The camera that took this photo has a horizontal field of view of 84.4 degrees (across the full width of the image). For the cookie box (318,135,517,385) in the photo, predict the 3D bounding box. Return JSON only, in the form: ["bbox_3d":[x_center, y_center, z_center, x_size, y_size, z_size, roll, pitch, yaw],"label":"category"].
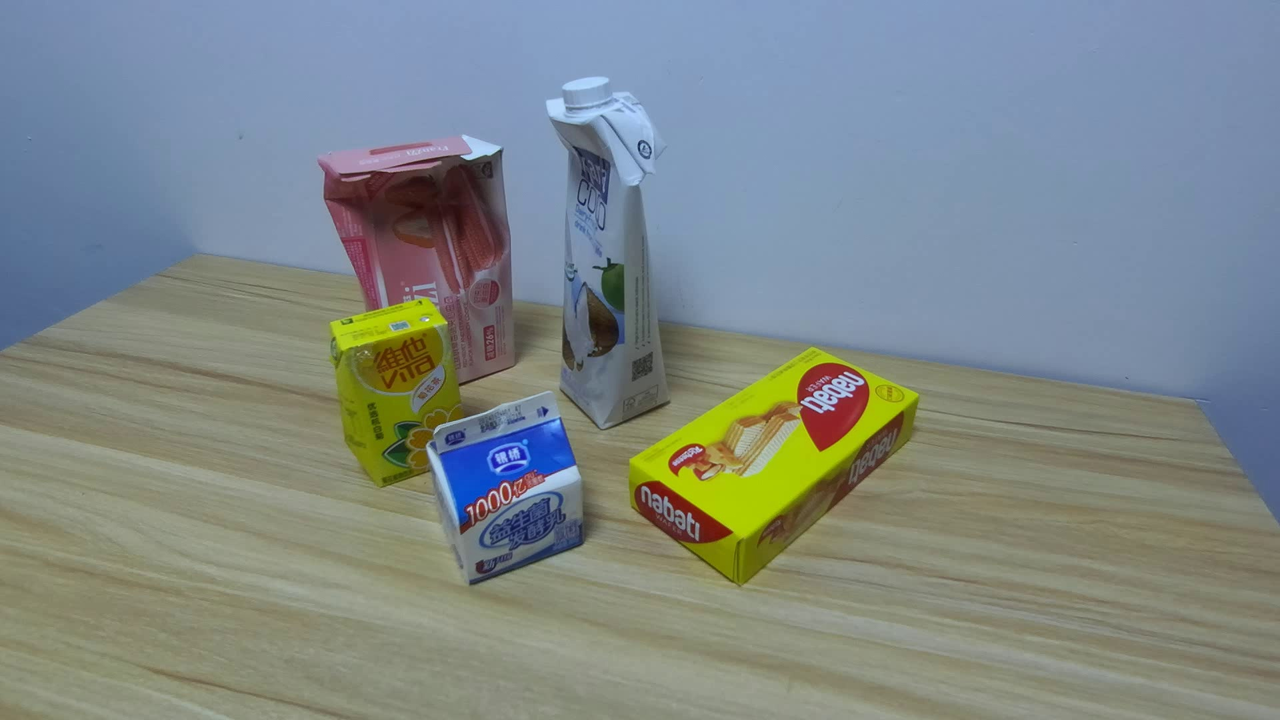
[{"bbox_3d":[-0.157,-0.065,0.530,0.119,0.184,0.055,-18,39,-26],"label":"cookie box"}]

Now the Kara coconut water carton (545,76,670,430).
[{"bbox_3d":[-0.022,-0.071,0.492,0.069,0.239,0.114,-20,38,-26],"label":"Kara coconut water carton"}]

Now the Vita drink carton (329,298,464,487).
[{"bbox_3d":[-0.158,0.023,0.461,0.077,0.109,0.043,-18,36,-26],"label":"Vita drink carton"}]

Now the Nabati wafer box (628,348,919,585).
[{"bbox_3d":[0.096,0.059,0.474,0.203,0.042,0.092,-27,42,-36],"label":"Nabati wafer box"}]

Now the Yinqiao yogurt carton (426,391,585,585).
[{"bbox_3d":[-0.080,0.065,0.414,0.076,0.092,0.073,-16,37,-21],"label":"Yinqiao yogurt carton"}]
